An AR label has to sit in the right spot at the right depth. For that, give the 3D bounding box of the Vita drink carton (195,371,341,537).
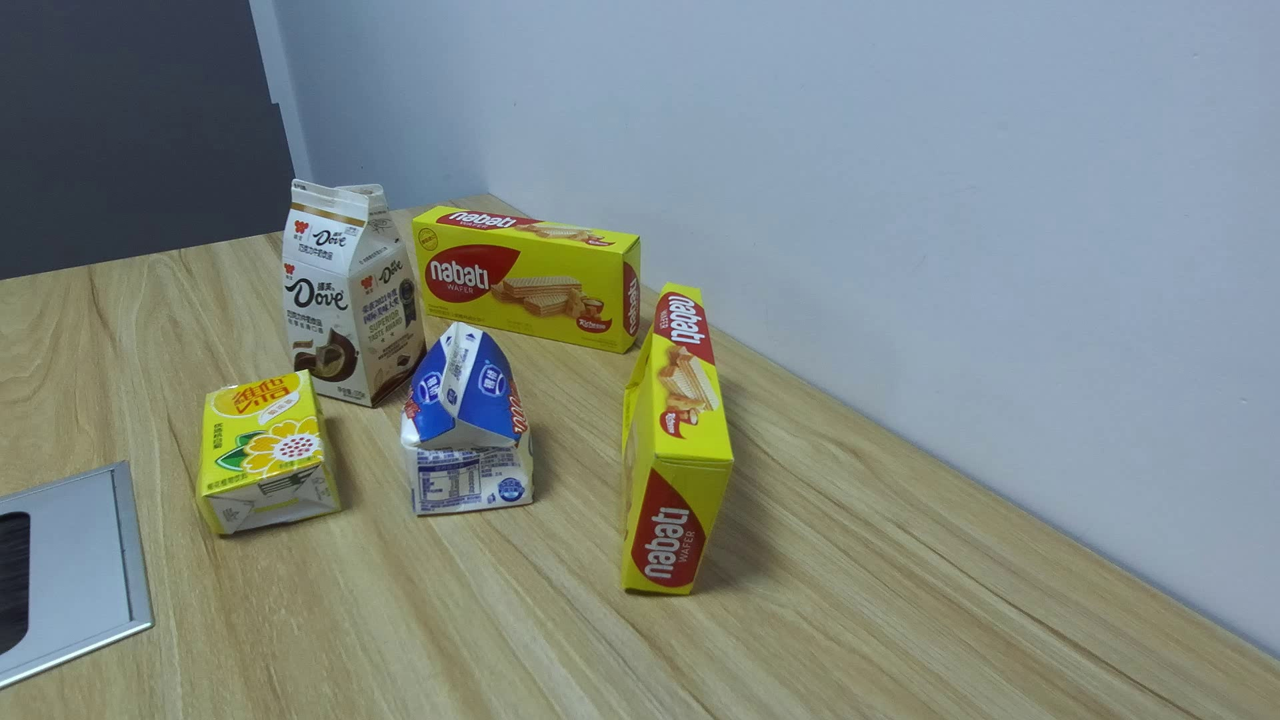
[{"bbox_3d":[-0.235,0.057,0.441,0.076,0.043,0.108,-16,36,-21],"label":"Vita drink carton"}]

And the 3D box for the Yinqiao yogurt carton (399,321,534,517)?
[{"bbox_3d":[-0.108,0.032,0.441,0.077,0.093,0.083,-5,31,-10],"label":"Yinqiao yogurt carton"}]

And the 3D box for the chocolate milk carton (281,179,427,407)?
[{"bbox_3d":[-0.217,-0.054,0.520,0.084,0.155,0.073,12,33,17],"label":"chocolate milk carton"}]

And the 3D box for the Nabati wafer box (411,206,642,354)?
[{"bbox_3d":[-0.098,-0.071,0.616,0.202,0.093,0.042,12,31,19],"label":"Nabati wafer box"}]

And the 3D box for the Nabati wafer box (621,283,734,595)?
[{"bbox_3d":[0.016,0.035,0.436,0.042,0.096,0.203,8,30,-6],"label":"Nabati wafer box"}]
